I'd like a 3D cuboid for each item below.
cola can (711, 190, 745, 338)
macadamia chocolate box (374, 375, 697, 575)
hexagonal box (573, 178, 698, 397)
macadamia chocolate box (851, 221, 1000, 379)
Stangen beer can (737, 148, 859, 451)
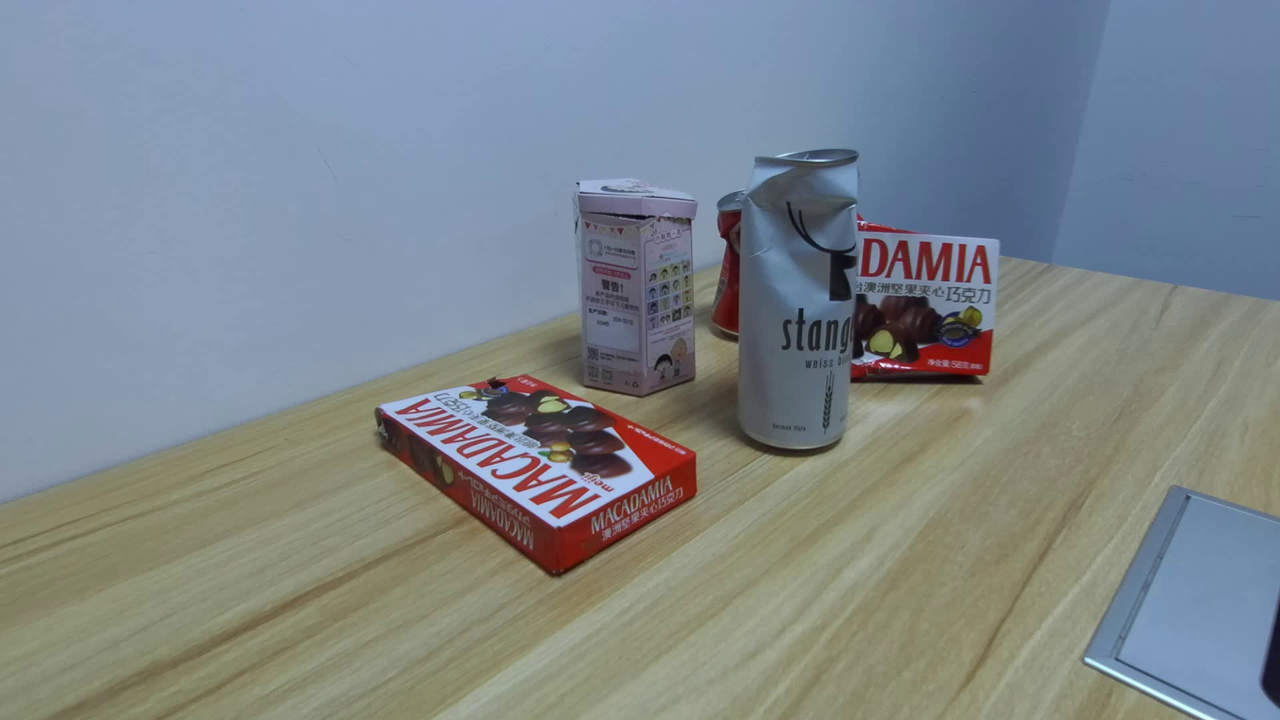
[{"bbox_3d":[0.090,-0.075,0.567,0.065,0.112,0.069,2,27,14],"label":"cola can"},{"bbox_3d":[-0.065,0.048,0.403,0.103,0.027,0.186,-20,30,-40],"label":"macadamia chocolate box"},{"bbox_3d":[-0.003,-0.052,0.488,0.092,0.135,0.085,11,26,26],"label":"hexagonal box"},{"bbox_3d":[0.181,-0.044,0.491,0.126,0.112,0.056,2,23,3],"label":"macadamia chocolate box"},{"bbox_3d":[0.089,-0.031,0.400,0.066,0.166,0.066,3,23,12],"label":"Stangen beer can"}]
